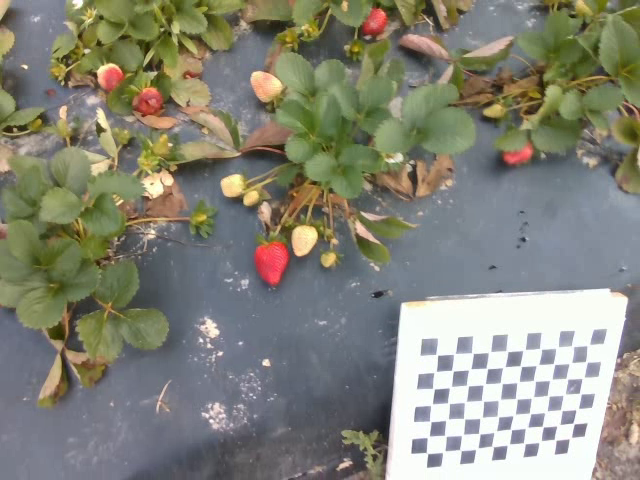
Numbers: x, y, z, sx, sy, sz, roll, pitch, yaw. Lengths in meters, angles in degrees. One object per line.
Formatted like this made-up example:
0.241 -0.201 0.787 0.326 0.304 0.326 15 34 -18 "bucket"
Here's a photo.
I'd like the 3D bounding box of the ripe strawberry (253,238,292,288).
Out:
-0.056 0.028 0.653 0.050 0.059 0.033 -12 -30 -5 "ripe strawberry"
